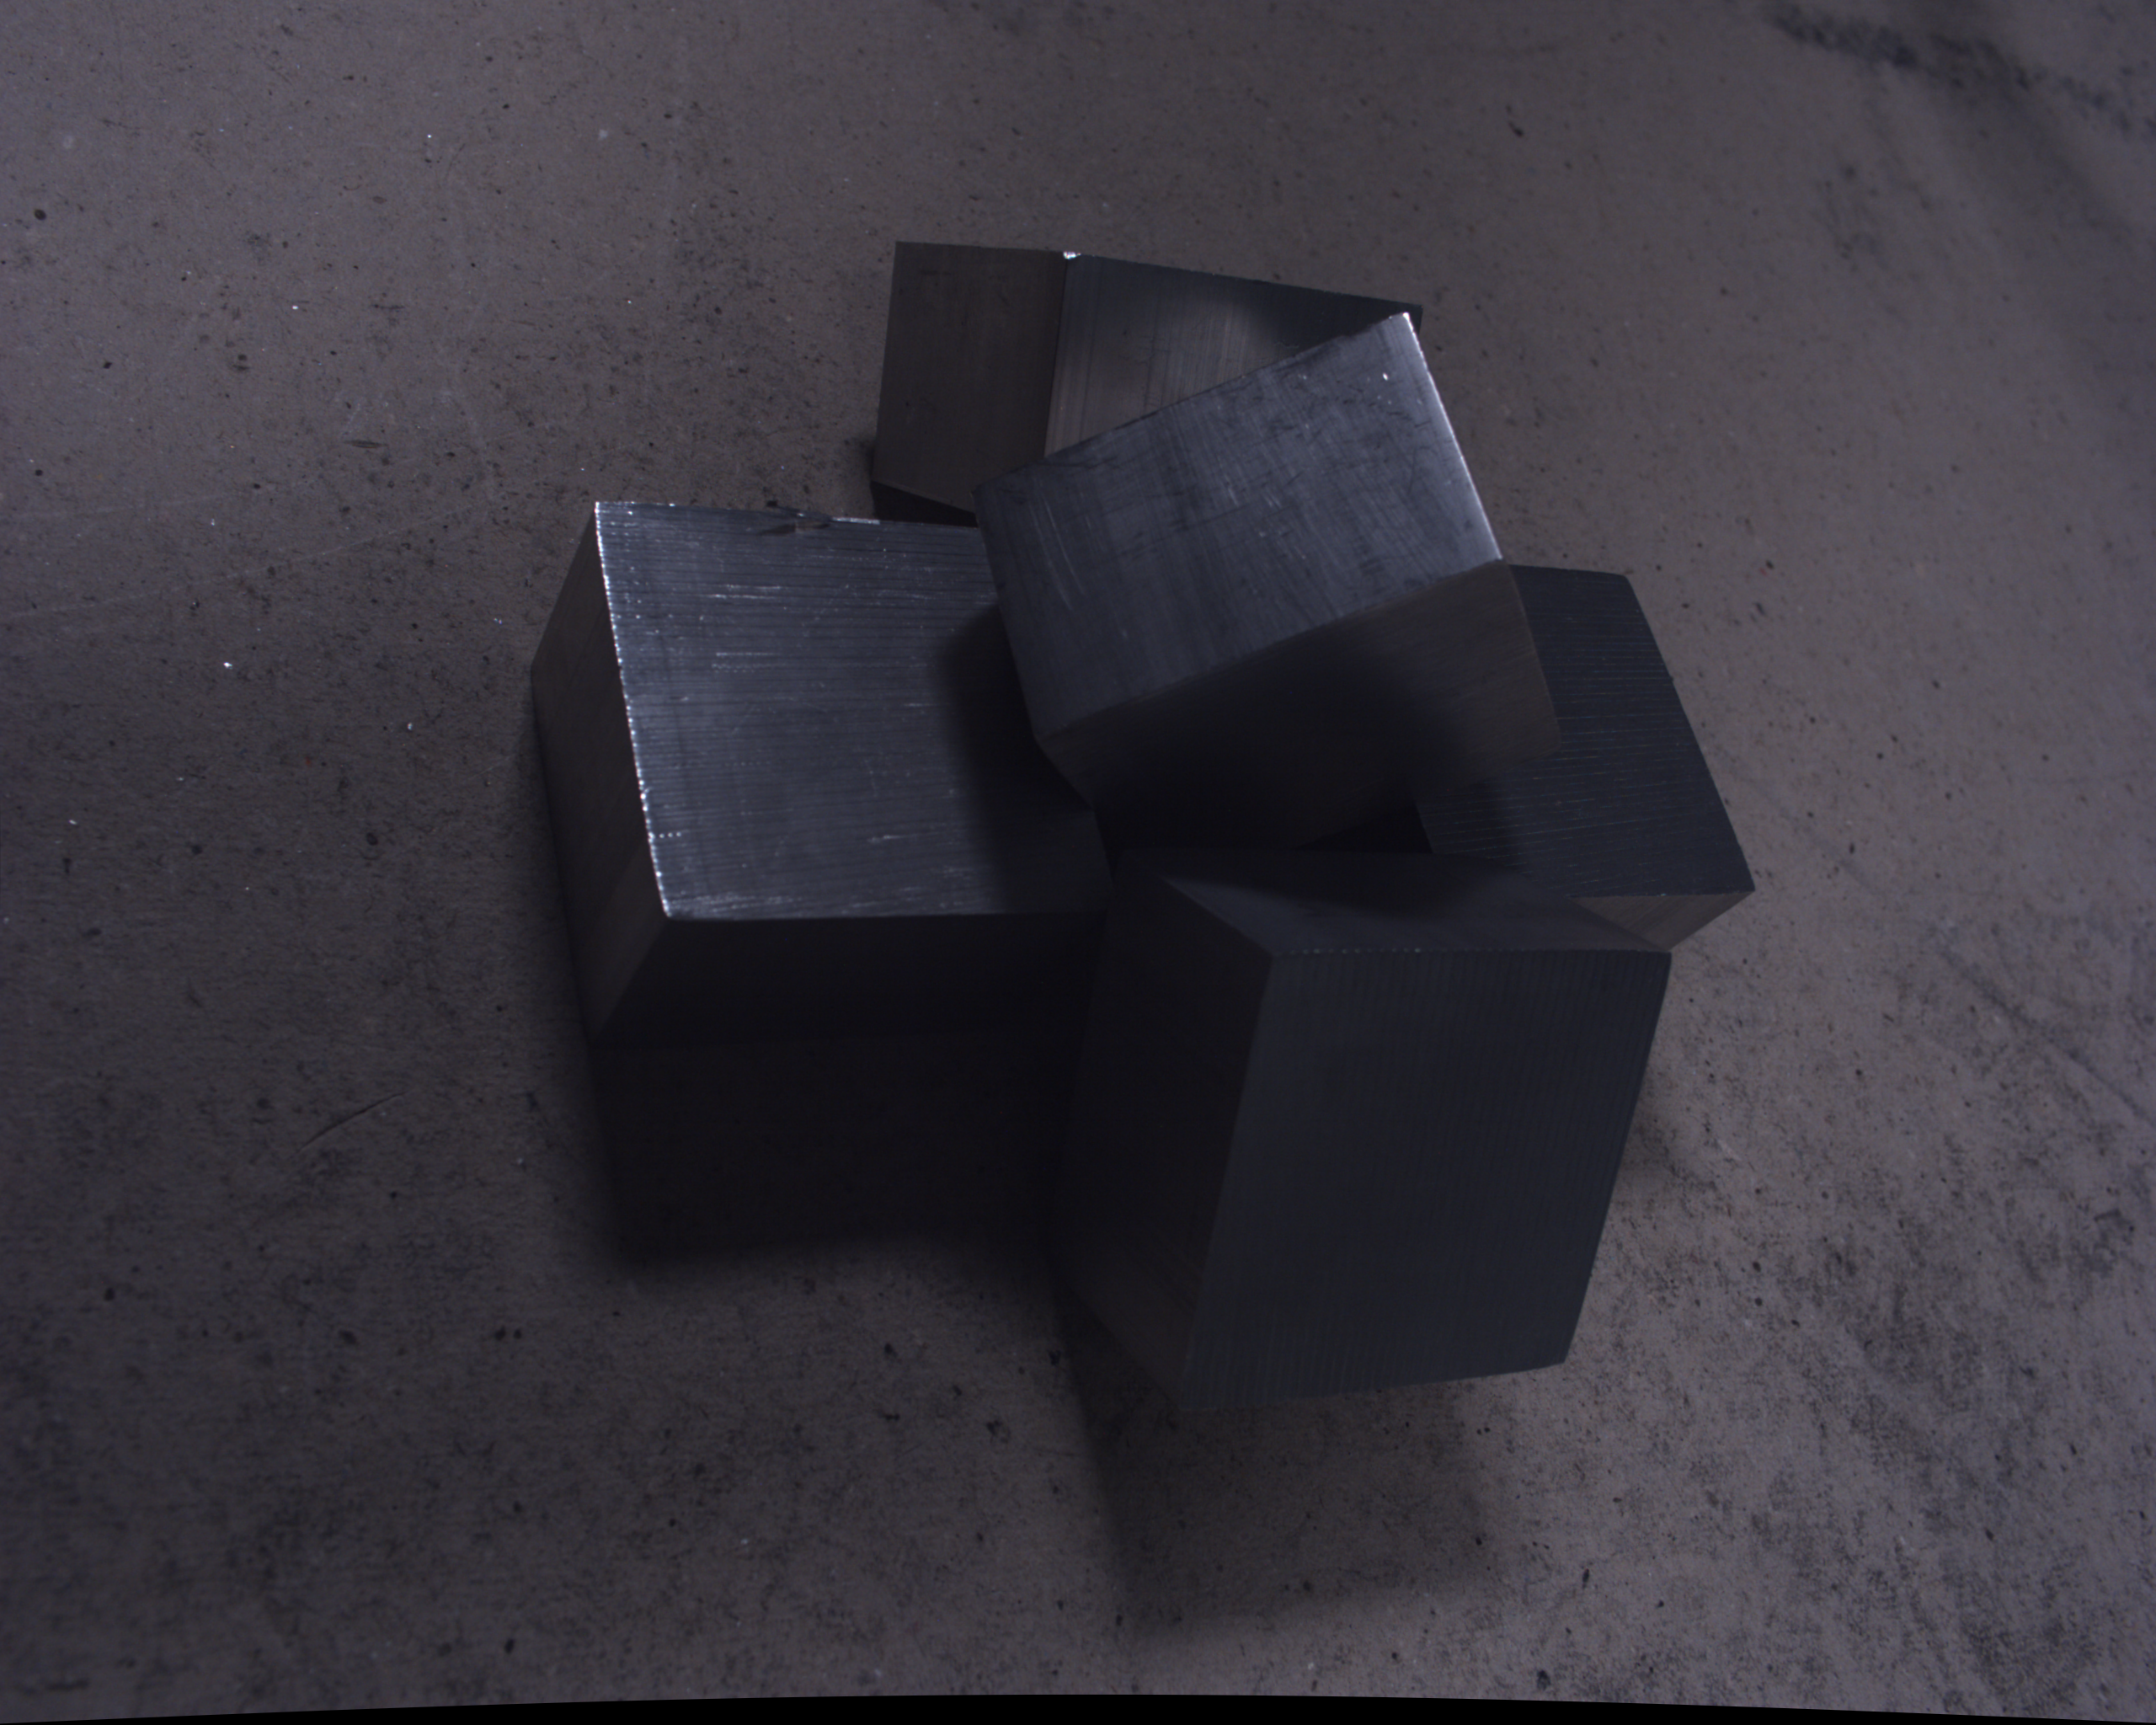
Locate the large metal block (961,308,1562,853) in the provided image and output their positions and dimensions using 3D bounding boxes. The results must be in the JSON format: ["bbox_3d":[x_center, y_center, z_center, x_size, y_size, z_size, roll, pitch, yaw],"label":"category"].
[{"bbox_3d":[0.036,-0.043,0.374,0.080,0.080,0.050,-20,66,11],"label":"large metal block"}]

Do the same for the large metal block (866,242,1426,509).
[{"bbox_3d":[0.011,-0.096,0.429,0.081,0.080,0.050,-1,106,-29],"label":"large metal block"}]

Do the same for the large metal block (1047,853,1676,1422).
[{"bbox_3d":[0.047,0.044,0.362,0.081,0.079,0.050,1,18,-27],"label":"large metal block"}]

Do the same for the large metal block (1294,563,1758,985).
[{"bbox_3d":[0.084,-0.017,0.444,0.081,0.050,0.080,0,62,-29],"label":"large metal block"}]

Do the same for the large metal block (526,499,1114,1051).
[{"bbox_3d":[-0.048,-0.015,0.373,0.081,0.050,0.080,-1,62,-29],"label":"large metal block"}]
